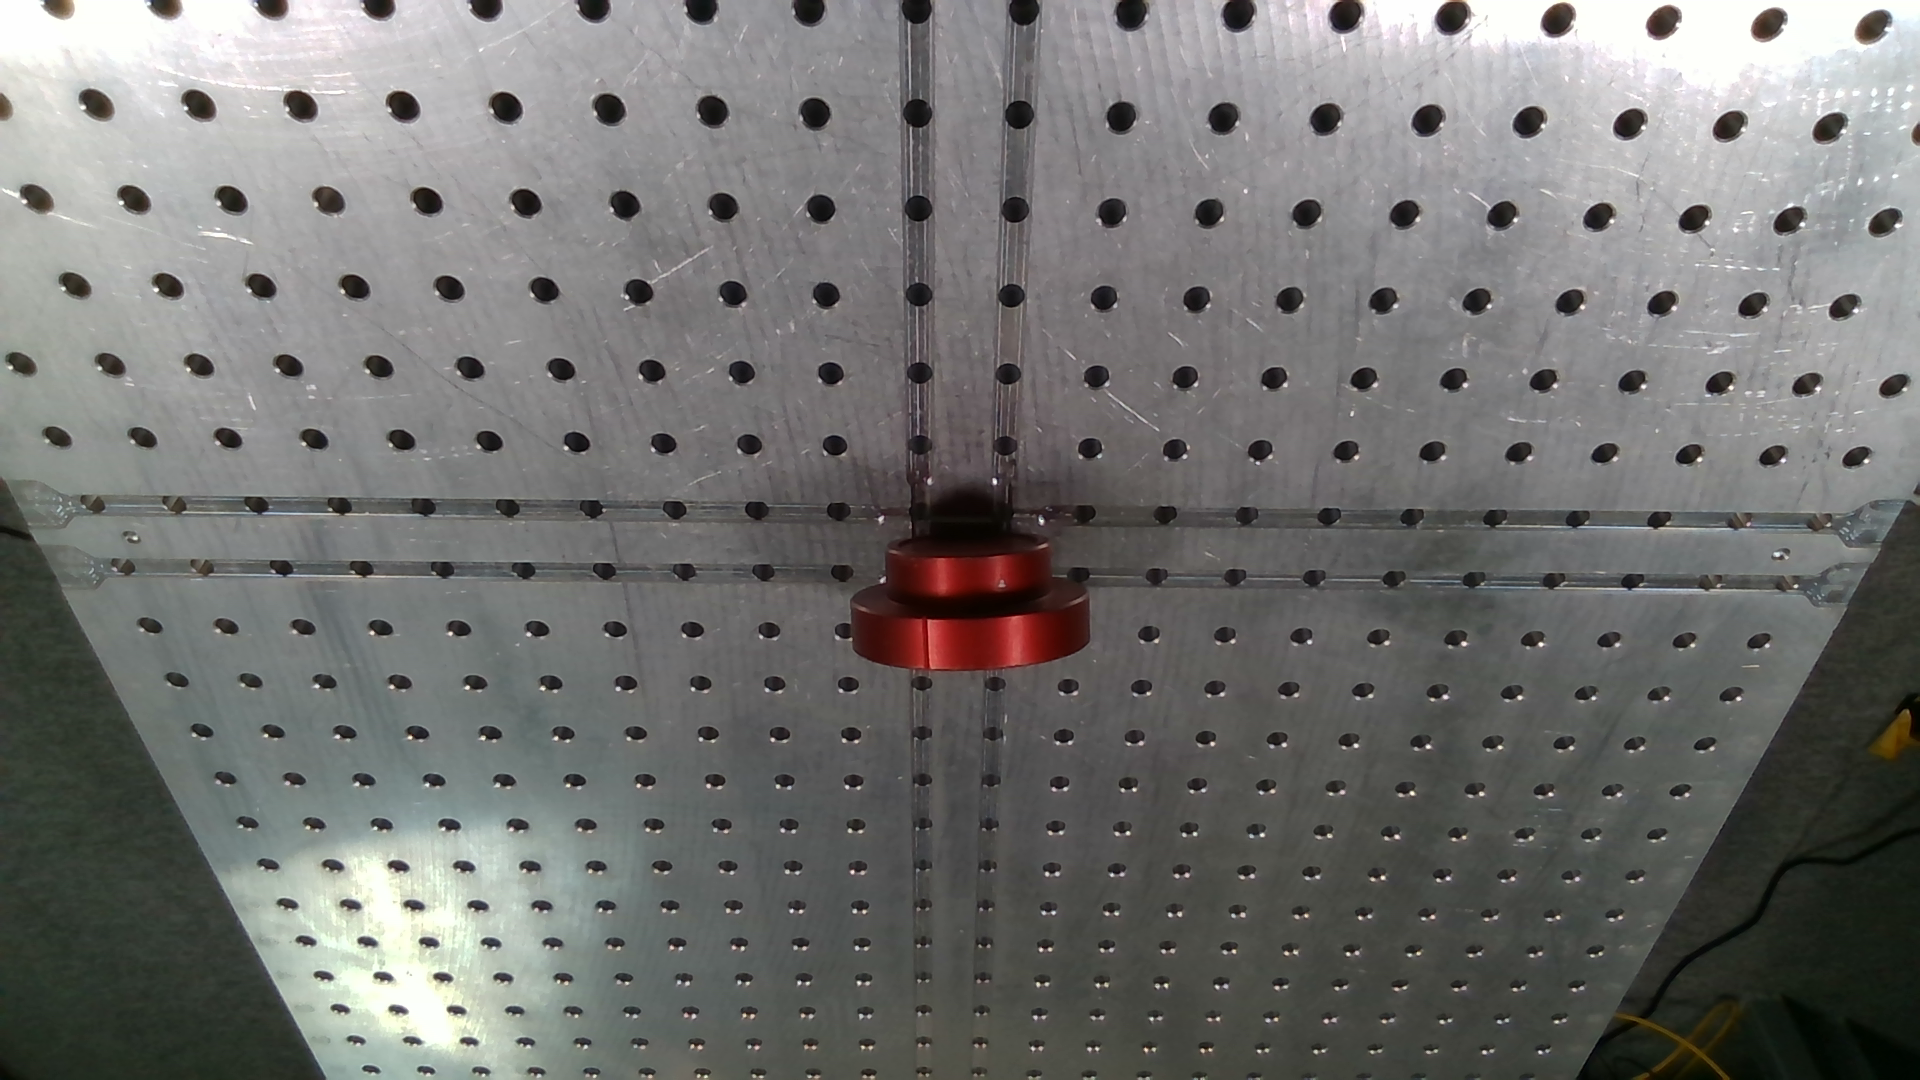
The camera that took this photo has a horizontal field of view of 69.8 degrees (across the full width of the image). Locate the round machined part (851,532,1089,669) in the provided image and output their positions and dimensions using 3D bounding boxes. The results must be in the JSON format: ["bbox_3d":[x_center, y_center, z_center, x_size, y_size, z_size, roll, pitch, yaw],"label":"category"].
[{"bbox_3d":[0.004,0.021,0.564,0.098,0.098,0.042,-2,98,2],"label":"round machined part"}]
